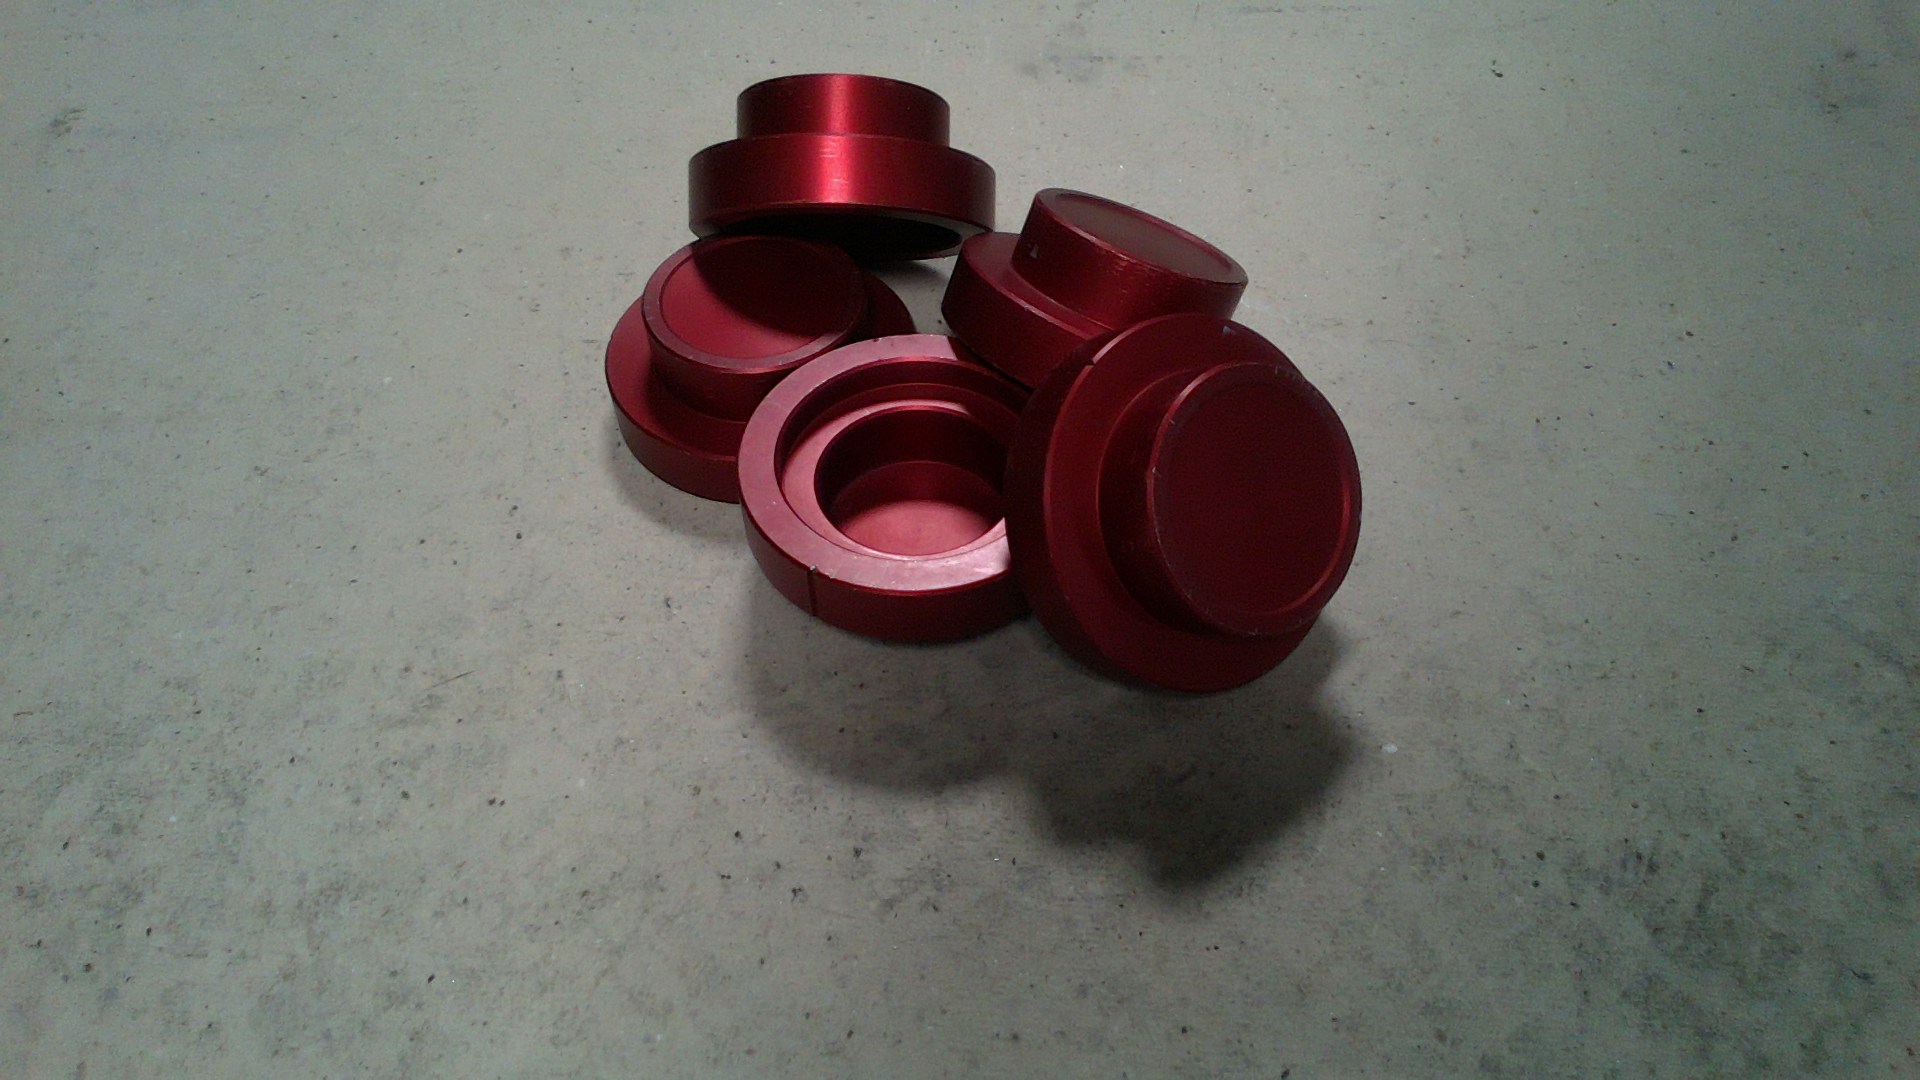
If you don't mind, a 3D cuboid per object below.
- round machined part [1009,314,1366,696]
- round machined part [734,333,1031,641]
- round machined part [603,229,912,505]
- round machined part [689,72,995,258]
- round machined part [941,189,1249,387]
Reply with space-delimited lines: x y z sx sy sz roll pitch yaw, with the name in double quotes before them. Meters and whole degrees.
"round machined part" 0.065 -0.009 0.352 0.098 0.098 0.042 -36 17 -26
"round machined part" -0.012 -0.011 0.390 0.098 0.042 0.098 0 50 0
"round machined part" -0.063 -0.060 0.433 0.098 0.042 0.098 0 50 0
"round machined part" -0.037 -0.119 0.443 0.098 0.098 0.042 1 92 1
"round machined part" 0.047 -0.074 0.414 0.098 0.042 0.098 19 25 -9
